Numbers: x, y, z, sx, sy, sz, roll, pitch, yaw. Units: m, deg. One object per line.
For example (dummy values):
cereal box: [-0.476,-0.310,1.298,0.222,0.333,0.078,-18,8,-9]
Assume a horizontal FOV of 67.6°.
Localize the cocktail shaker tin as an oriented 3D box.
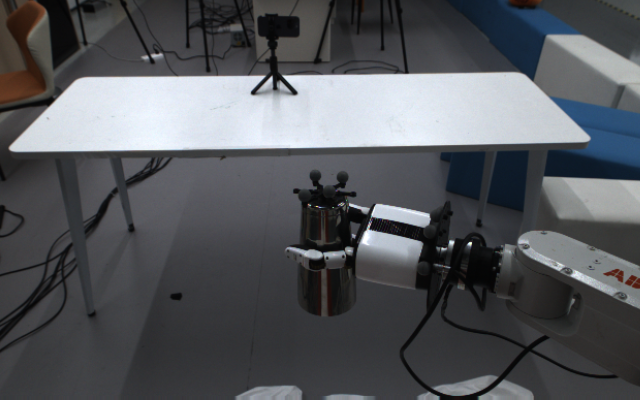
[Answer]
cocktail shaker tin: [0.011,0.073,0.711,0.093,0.170,0.093,-1,26,1]
